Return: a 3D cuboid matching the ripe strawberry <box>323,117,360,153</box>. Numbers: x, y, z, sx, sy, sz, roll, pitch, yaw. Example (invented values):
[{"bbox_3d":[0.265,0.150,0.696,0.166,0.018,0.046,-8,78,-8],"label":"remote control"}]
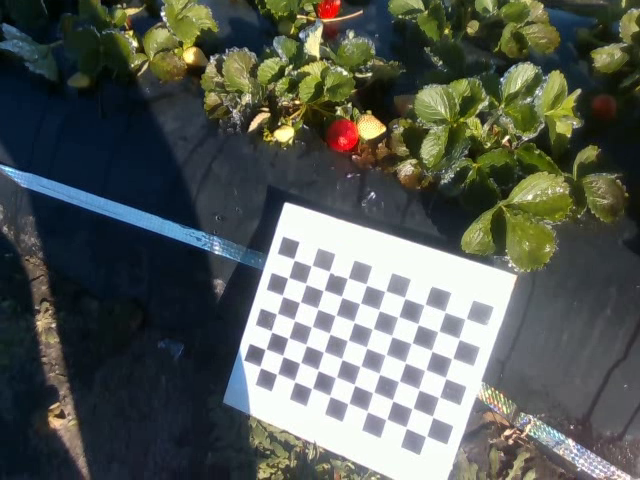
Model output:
[{"bbox_3d":[0.025,-0.113,0.806,0.040,0.042,0.053,-19,17,8],"label":"ripe strawberry"}]
